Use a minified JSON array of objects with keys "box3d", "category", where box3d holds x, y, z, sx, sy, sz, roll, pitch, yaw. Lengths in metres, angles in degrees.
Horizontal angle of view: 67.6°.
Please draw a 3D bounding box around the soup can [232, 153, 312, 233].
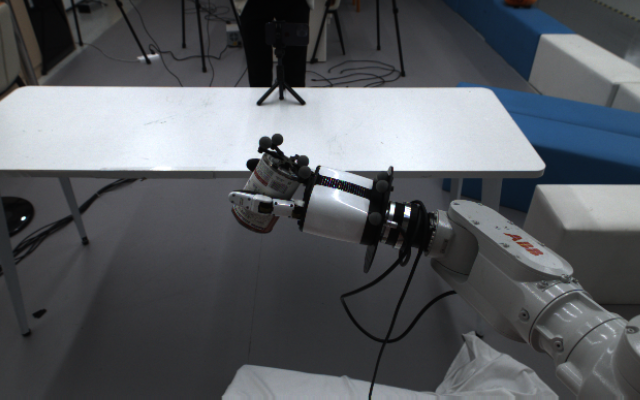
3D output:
[{"box3d":[-0.075,-0.010,0.699,0.067,0.101,0.067,28,22,-12],"category":"soup can"}]
